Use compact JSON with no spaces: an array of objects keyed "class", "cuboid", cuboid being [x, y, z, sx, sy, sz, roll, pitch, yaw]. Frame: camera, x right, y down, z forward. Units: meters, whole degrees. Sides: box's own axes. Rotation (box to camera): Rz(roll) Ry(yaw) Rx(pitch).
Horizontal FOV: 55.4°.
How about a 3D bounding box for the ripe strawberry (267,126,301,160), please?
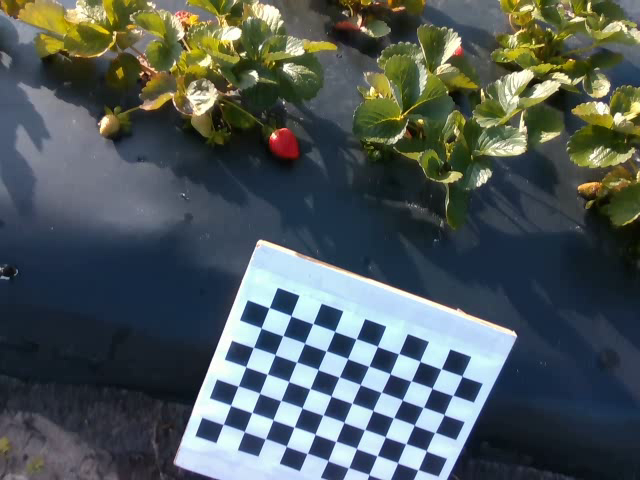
[{"class":"ripe strawberry","cuboid":[-0.033,-0.096,0.612,0.030,0.045,0.033,-39,-24,9]}]
